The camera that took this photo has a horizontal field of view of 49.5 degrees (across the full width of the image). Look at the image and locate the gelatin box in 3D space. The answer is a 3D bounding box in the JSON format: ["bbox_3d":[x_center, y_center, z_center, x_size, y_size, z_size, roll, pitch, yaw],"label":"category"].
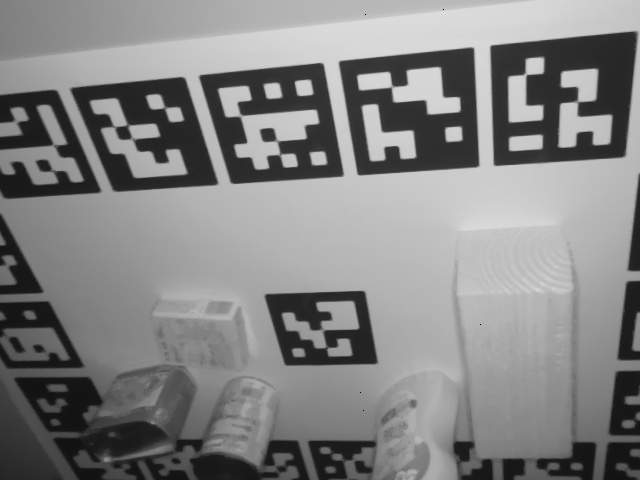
[{"bbox_3d":[-0.123,0.089,0.700,0.089,0.030,0.072,6,123,2],"label":"gelatin box"}]

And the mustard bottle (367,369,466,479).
[{"bbox_3d":[0.092,0.214,0.665,0.095,0.194,0.058,-24,117,25],"label":"mustard bottle"}]

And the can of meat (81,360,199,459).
[{"bbox_3d":[-0.189,0.180,0.745,0.101,0.085,0.057,-13,120,20],"label":"can of meat"}]

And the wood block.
[{"bbox_3d":[0.182,0.099,0.630,0.090,0.091,0.205,0,128,11],"label":"wood block"}]

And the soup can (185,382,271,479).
[{"bbox_3d":[-0.093,0.207,0.726,0.068,0.103,0.067,4,123,7],"label":"soup can"}]
